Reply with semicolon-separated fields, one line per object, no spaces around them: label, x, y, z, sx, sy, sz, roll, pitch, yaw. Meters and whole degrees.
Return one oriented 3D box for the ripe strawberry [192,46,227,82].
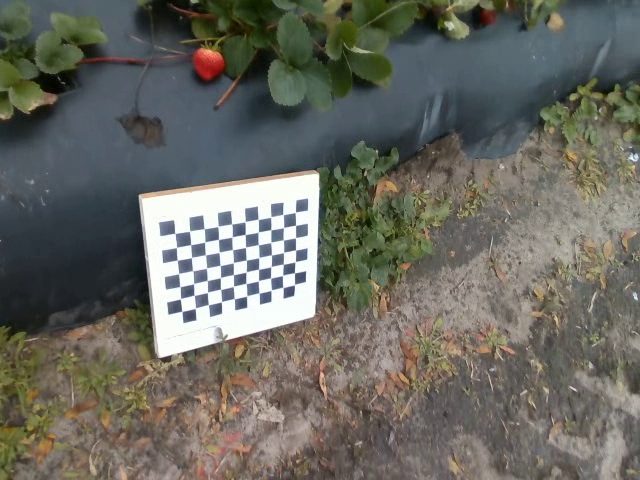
ripe strawberry;-0.200;-0.314;1.088;0.061;0.064;0.050;-2;18;-35
